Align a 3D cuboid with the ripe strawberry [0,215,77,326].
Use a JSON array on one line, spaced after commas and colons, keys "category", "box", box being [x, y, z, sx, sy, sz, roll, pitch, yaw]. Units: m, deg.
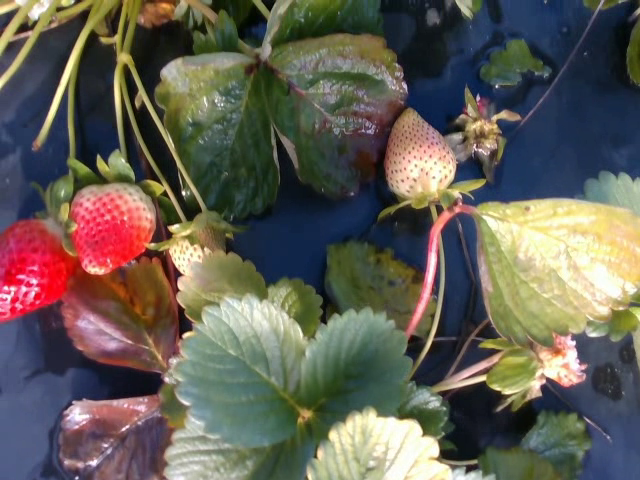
[{"category": "ripe strawberry", "box": [-0.135, 0.016, 0.272, 0.044, 0.042, 0.055, 2, 44, 37]}]
